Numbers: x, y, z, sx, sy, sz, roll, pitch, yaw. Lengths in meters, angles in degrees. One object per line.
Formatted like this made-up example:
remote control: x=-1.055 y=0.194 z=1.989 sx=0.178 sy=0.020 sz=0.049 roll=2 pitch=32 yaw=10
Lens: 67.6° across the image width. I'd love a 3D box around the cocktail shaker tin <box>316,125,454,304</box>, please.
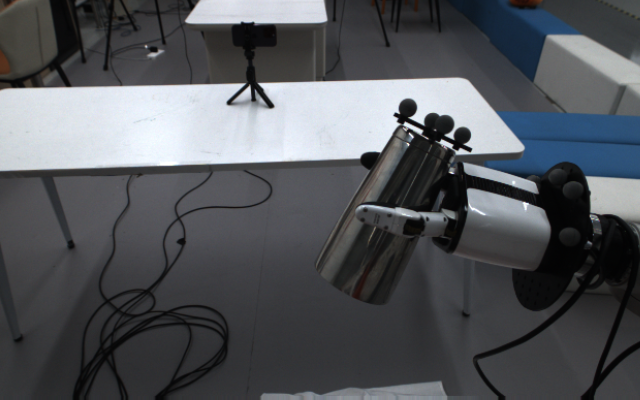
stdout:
cocktail shaker tin: x=0.074 y=0.011 z=0.508 sx=0.093 sy=0.170 sz=0.093 roll=24 pitch=13 yaw=-6
